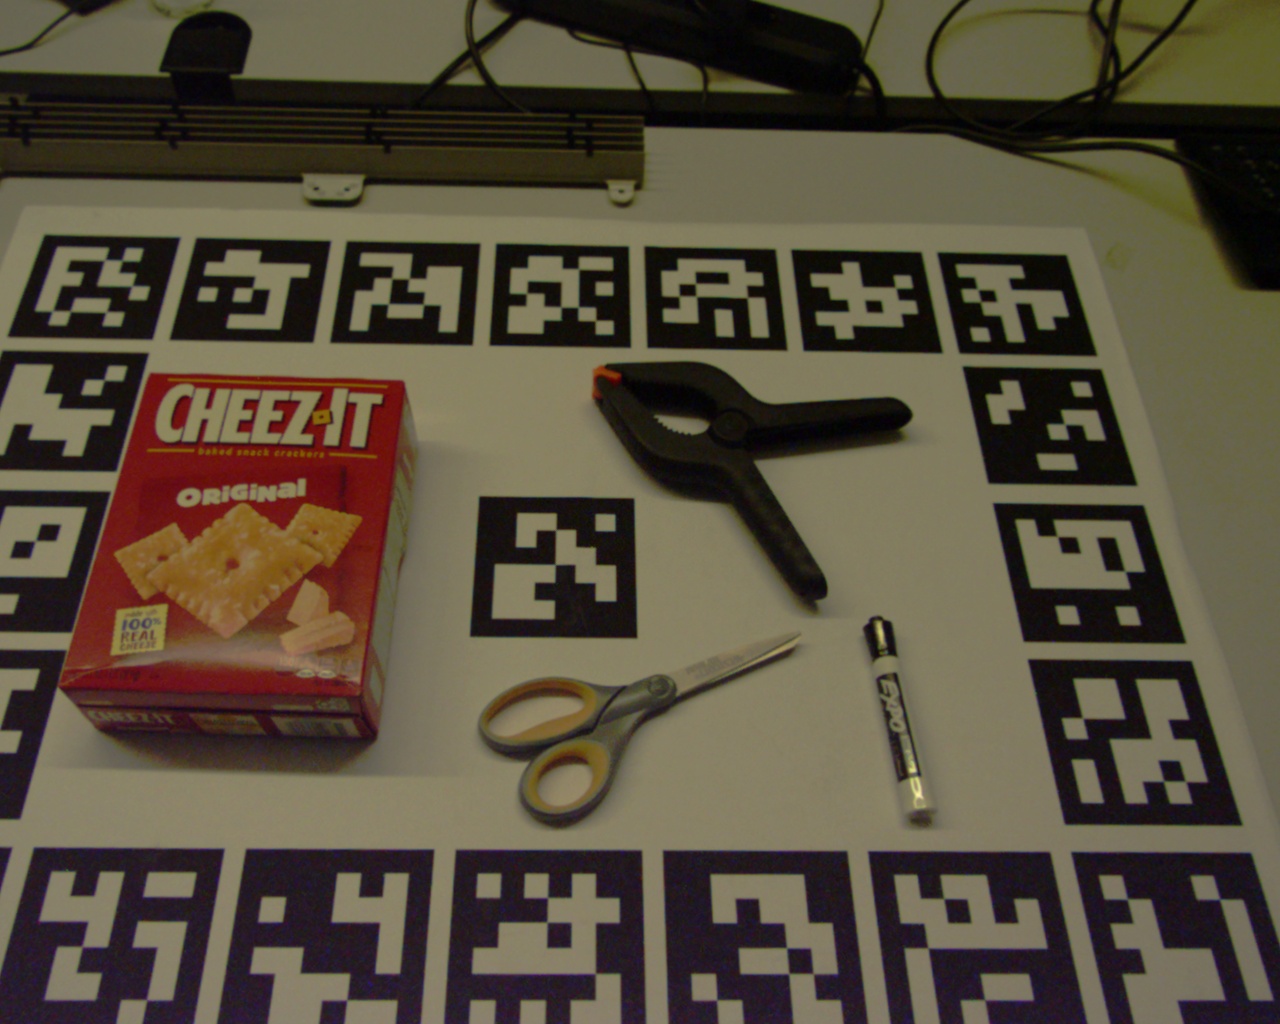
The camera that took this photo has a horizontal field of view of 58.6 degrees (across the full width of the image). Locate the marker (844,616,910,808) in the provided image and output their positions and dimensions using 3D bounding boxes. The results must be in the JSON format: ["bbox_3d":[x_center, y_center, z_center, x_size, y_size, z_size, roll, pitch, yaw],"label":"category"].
[{"bbox_3d":[0.143,0.118,0.692,0.019,0.019,0.121,-2,57,-4],"label":"marker"}]

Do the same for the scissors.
[{"bbox_3d":[0.000,0.112,0.692,0.201,0.016,0.088,-24,60,-19],"label":"scissors"}]

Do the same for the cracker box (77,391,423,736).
[{"bbox_3d":[-0.232,0.026,0.710,0.164,0.072,0.214,2,57,-1],"label":"cracker box"}]

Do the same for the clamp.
[{"bbox_3d":[0.048,-0.043,0.800,0.204,0.036,0.164,27,59,14],"label":"clamp"}]
